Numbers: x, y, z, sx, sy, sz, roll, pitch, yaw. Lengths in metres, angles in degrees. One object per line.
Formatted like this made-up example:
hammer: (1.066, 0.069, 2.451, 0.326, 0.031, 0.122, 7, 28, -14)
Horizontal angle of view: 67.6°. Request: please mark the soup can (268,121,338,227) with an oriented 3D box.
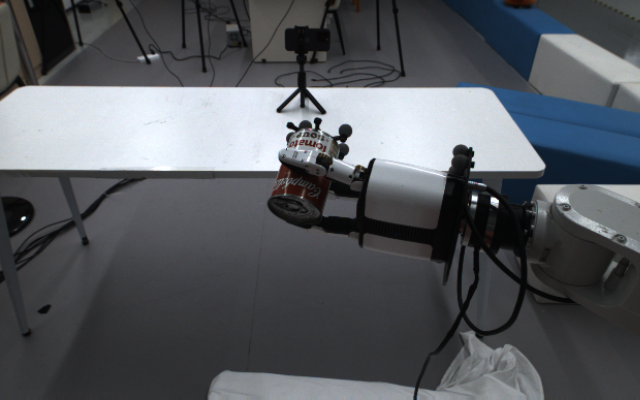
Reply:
soup can: (-0.017, -0.030, 0.597, 0.067, 0.067, 0.101, 9, 60, 10)
